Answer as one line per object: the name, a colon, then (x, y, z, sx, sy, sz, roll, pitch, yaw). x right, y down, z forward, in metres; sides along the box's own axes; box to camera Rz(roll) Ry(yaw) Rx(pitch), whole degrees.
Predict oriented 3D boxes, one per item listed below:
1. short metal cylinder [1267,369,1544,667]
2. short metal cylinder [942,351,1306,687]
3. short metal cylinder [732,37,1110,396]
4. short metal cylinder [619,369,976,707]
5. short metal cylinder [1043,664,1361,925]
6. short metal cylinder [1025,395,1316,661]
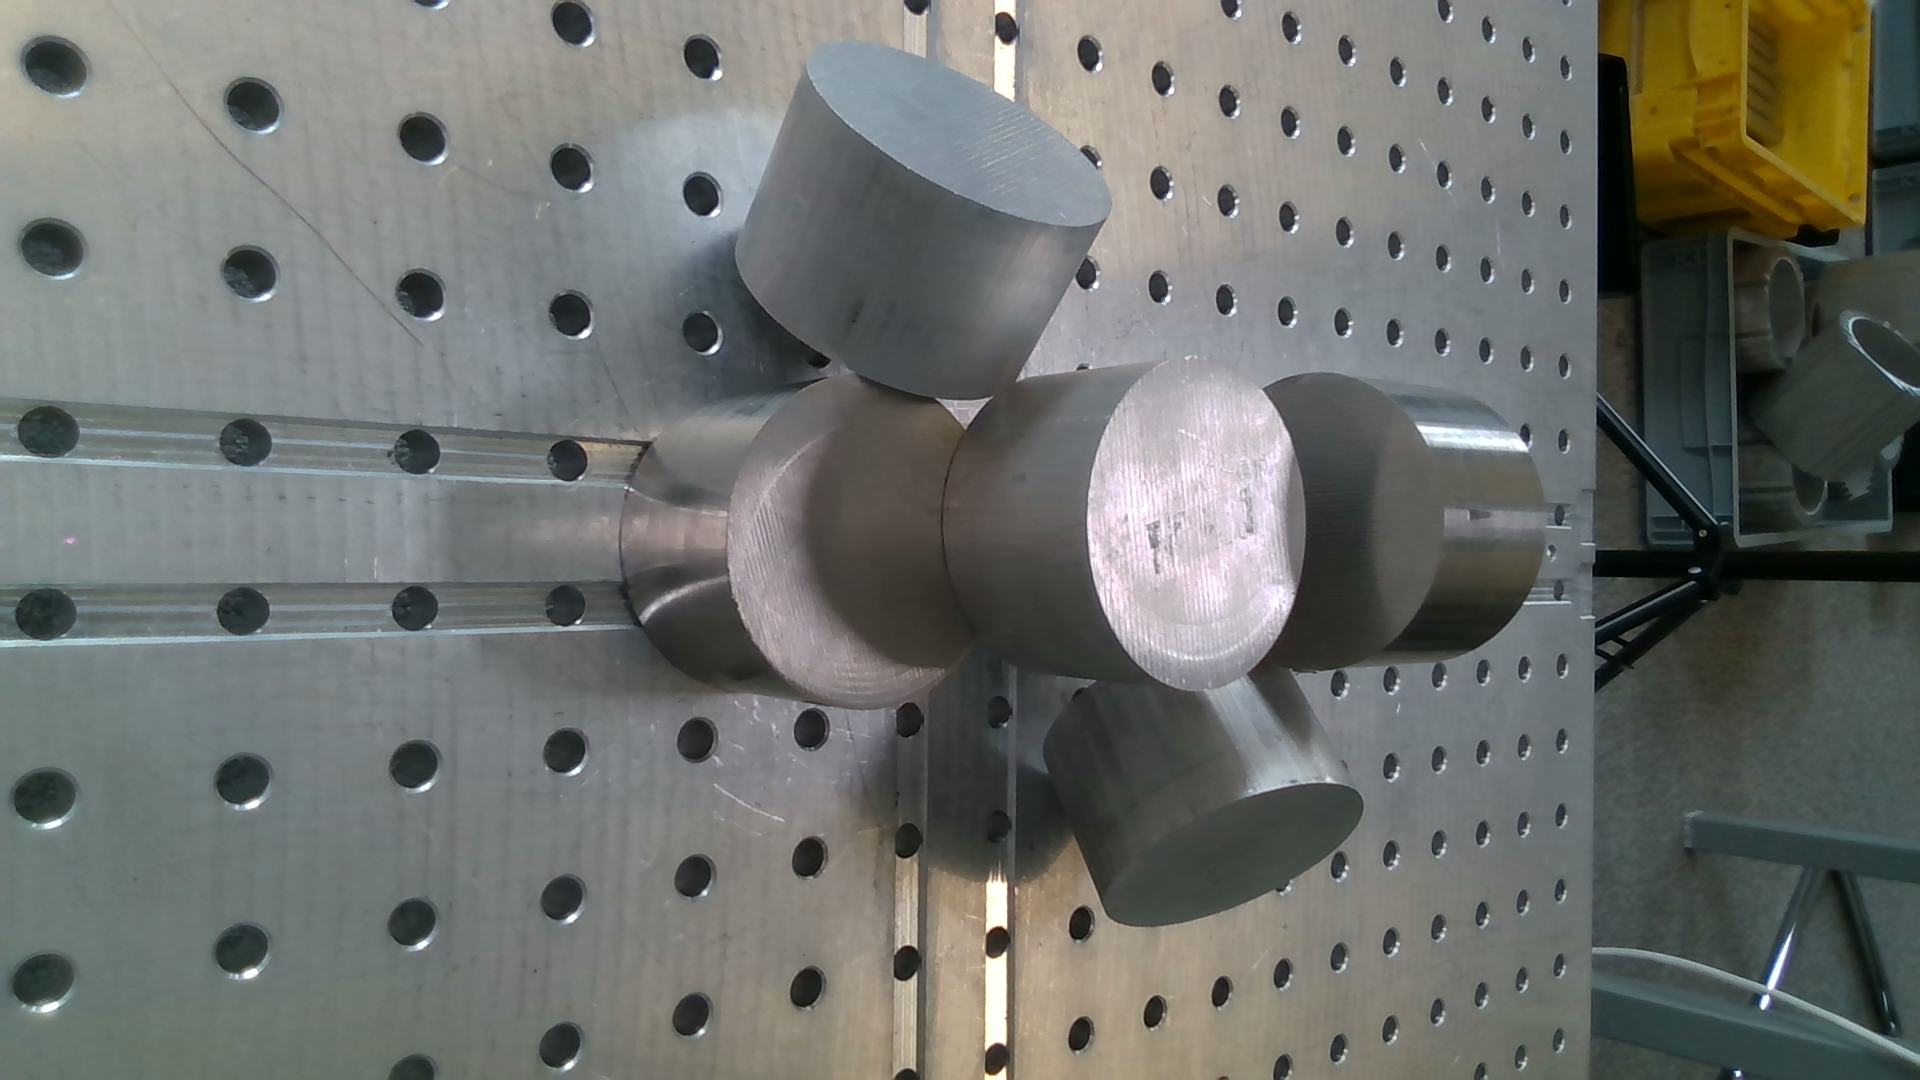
short metal cylinder: (0.113, -0.006, 0.386, 0.050, 0.080, 0.080, 0, 90, -40)
short metal cylinder: (0.042, -0.005, 0.347, 0.080, 0.050, 0.080, 0, 90, -40)
short metal cylinder: (-0.010, -0.081, 0.342, 0.080, 0.080, 0.050, -3, 136, -40)
short metal cylinder: (-0.037, -0.001, 0.345, 0.080, 0.050, 0.080, 0, 91, -39)
short metal cylinder: (0.070, 0.072, 0.409, 0.080, 0.080, 0.050, 14, 41, -39)
short metal cylinder: (0.067, -0.003, 0.434, 0.080, 0.050, 0.080, 0, 90, -40)
